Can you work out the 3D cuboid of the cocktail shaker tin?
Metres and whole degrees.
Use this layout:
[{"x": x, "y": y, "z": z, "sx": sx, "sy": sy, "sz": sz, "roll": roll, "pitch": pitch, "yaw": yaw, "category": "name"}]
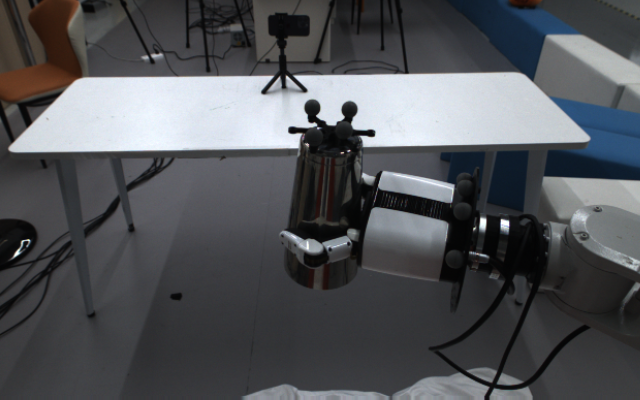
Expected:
[{"x": 0.009, "y": 0.007, "z": 0.547, "sx": 0.093, "sy": 0.170, "sz": 0.093, "roll": 3, "pitch": 34, "yaw": -2, "category": "cocktail shaker tin"}]
